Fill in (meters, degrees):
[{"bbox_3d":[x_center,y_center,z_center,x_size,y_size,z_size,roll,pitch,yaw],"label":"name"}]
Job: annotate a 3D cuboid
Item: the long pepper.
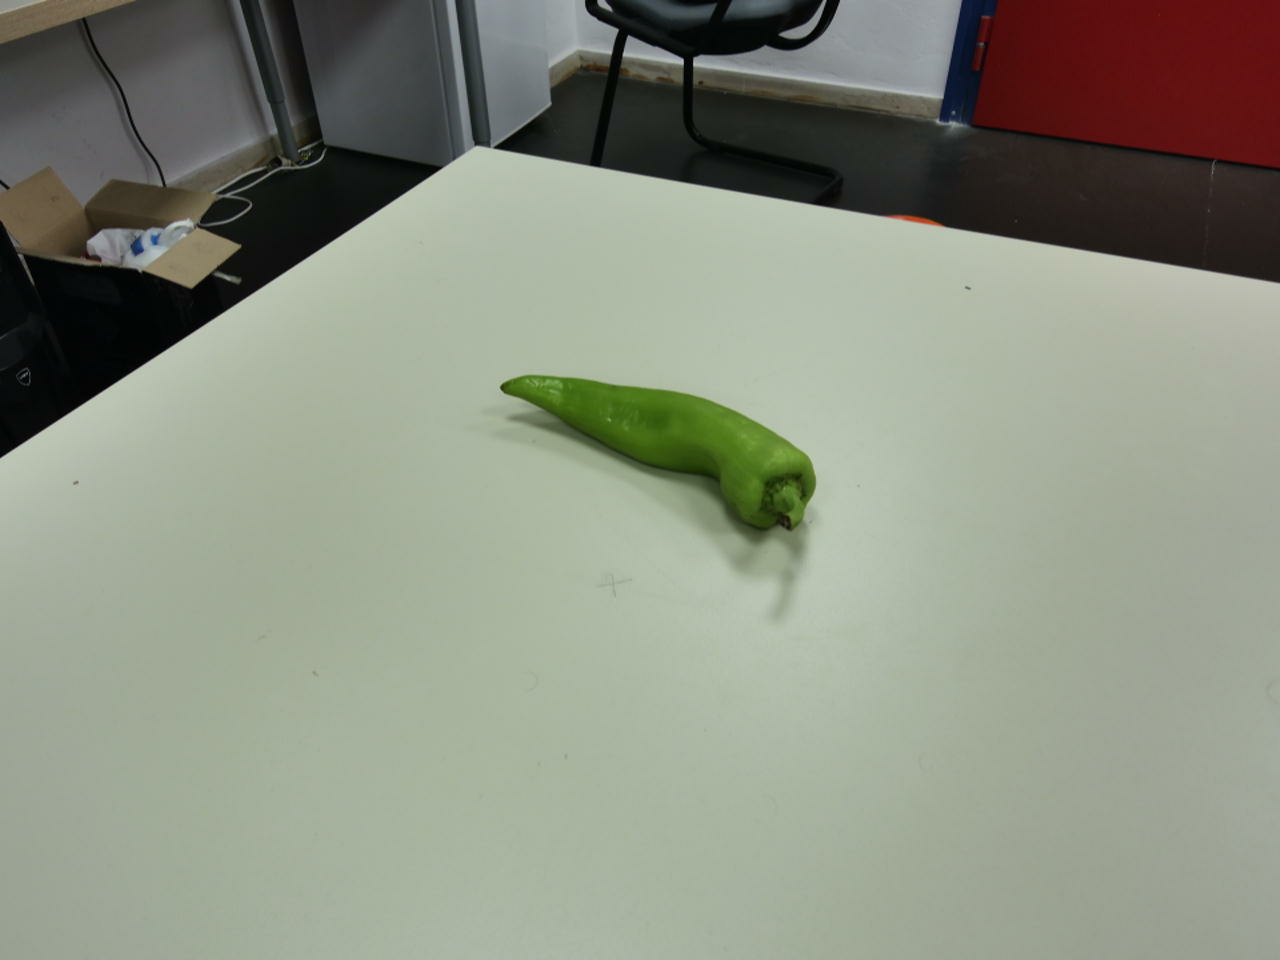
[{"bbox_3d":[0.016,-0.026,0.551,0.205,0.045,0.065,28,46,32],"label":"long pepper"}]
